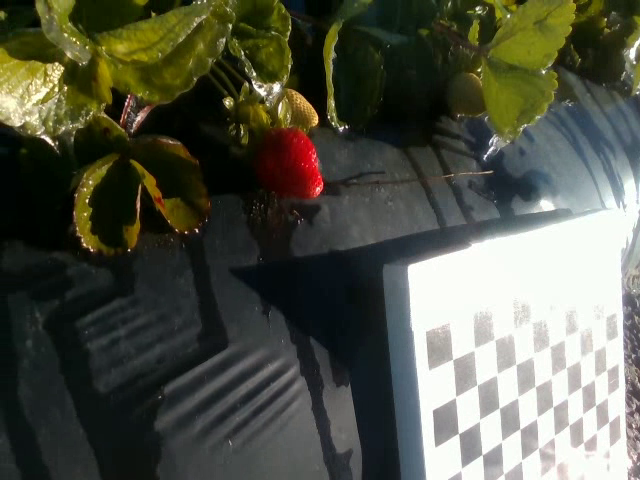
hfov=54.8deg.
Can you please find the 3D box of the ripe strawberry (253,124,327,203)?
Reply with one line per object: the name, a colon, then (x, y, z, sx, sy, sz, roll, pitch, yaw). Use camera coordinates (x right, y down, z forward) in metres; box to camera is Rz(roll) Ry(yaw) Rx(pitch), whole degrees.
ripe strawberry: (-0.008, -0.028, 0.259, 0.039, 0.040, 0.039, -20, 41, -29)
